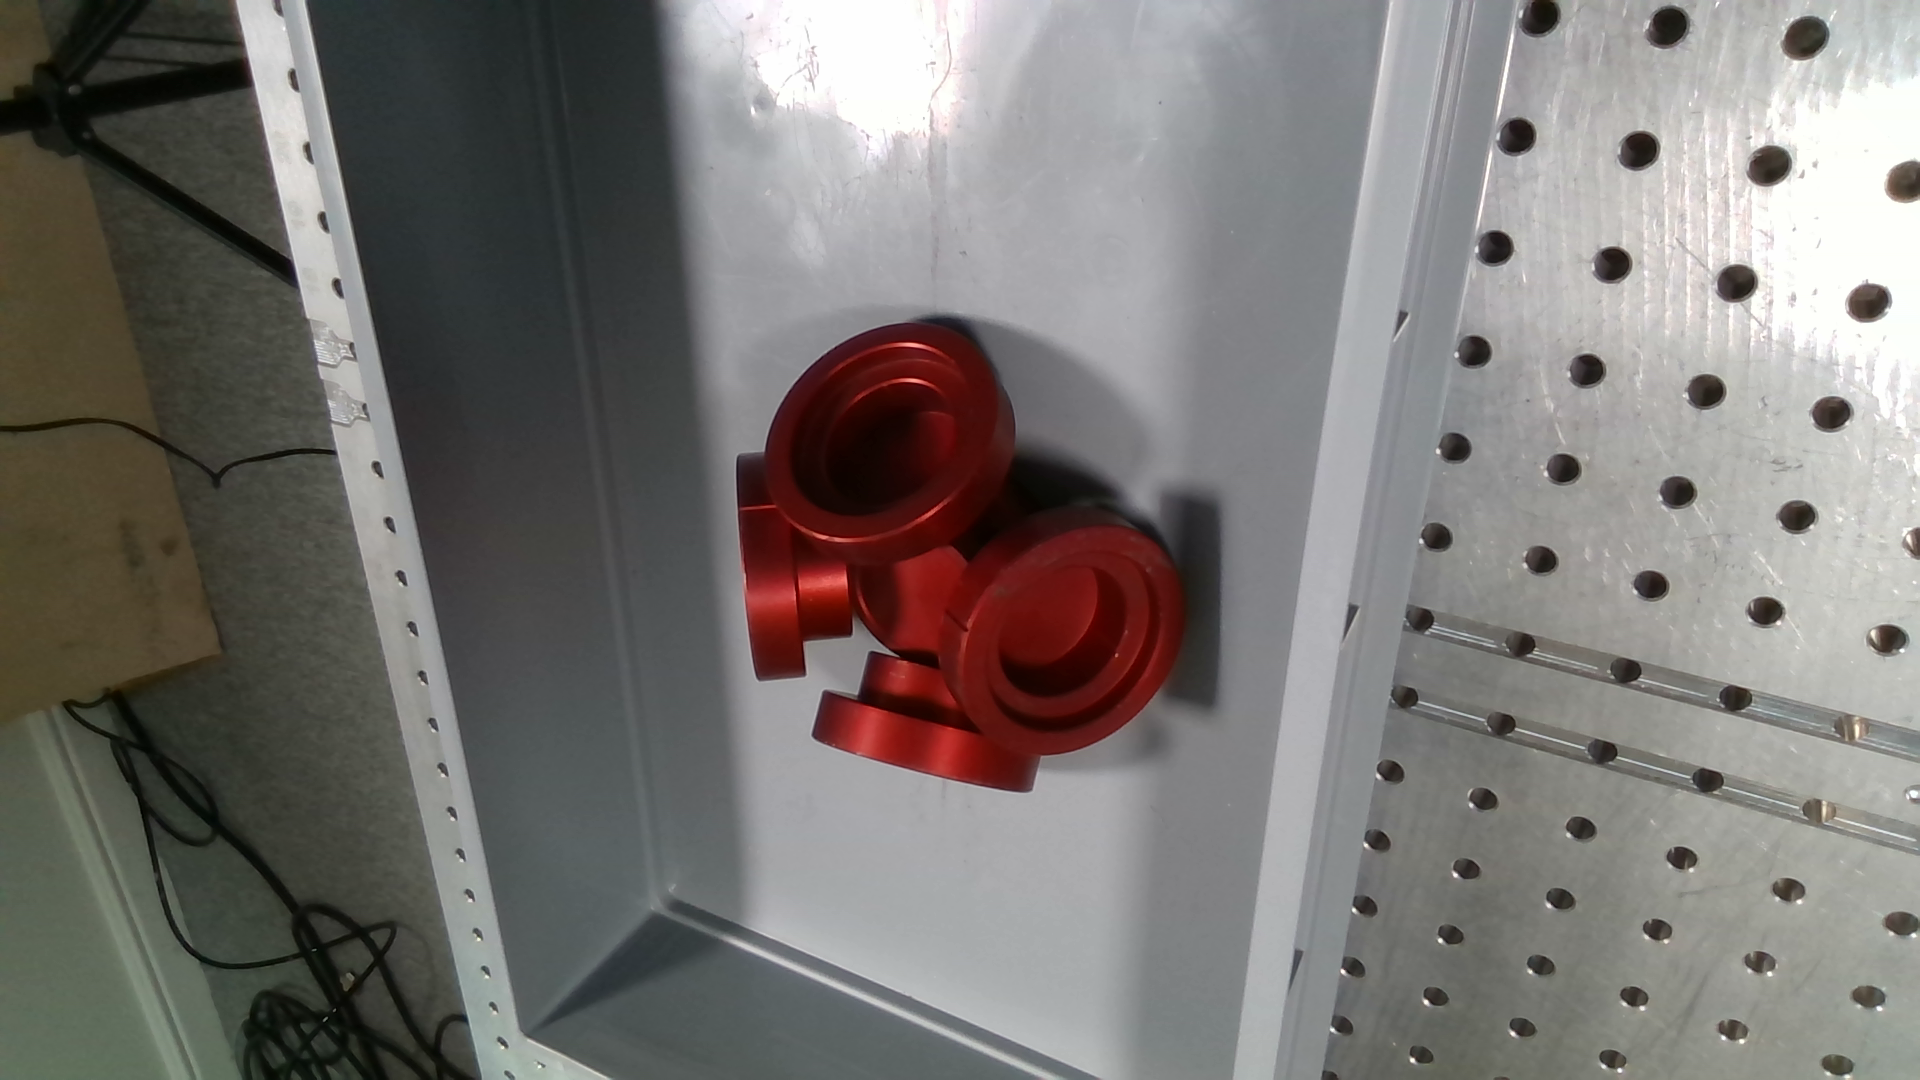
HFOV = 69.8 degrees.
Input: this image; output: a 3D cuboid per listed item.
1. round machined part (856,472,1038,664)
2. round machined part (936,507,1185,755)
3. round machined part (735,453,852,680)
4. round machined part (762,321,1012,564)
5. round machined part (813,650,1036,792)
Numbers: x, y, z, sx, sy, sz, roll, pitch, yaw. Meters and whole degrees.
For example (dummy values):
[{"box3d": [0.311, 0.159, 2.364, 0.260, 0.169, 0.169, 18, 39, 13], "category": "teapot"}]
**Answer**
[{"box3d": [-0.009, 0.014, 0.580, 0.098, 0.042, 0.098, 14, 122, 25], "category": "round machined part"}, {"box3d": [0.035, 0.031, 0.539, 0.042, 0.098, 0.098, -136, 37, -56], "category": "round machined part"}, {"box3d": [-0.070, 0.009, 0.591, 0.042, 0.098, 0.098, -5, 118, -6], "category": "round machined part"}, {"box3d": [-0.025, -0.034, 0.540, 0.098, 0.098, 0.042, 8, 156, 28], "category": "round machined part"}, {"box3d": [-0.012, 0.075, 0.593, 0.098, 0.098, 0.042, 11, 85, 26], "category": "round machined part"}]
